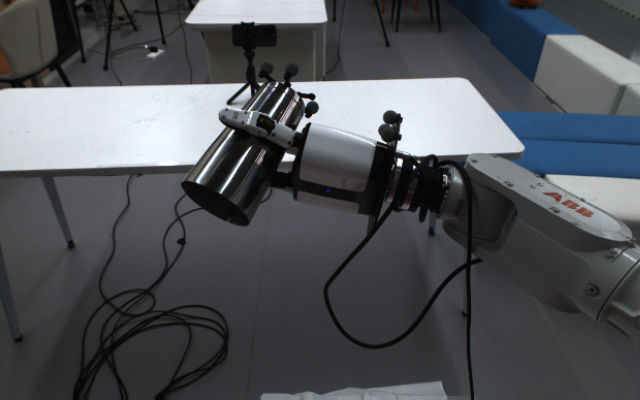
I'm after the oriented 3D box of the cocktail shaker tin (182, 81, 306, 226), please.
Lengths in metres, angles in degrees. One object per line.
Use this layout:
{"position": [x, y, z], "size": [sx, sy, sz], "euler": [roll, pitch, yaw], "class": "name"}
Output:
{"position": [-0.083, -0.066, 0.598], "size": [0.093, 0.093, 0.170], "euler": [18, 66, 21], "class": "cocktail shaker tin"}
